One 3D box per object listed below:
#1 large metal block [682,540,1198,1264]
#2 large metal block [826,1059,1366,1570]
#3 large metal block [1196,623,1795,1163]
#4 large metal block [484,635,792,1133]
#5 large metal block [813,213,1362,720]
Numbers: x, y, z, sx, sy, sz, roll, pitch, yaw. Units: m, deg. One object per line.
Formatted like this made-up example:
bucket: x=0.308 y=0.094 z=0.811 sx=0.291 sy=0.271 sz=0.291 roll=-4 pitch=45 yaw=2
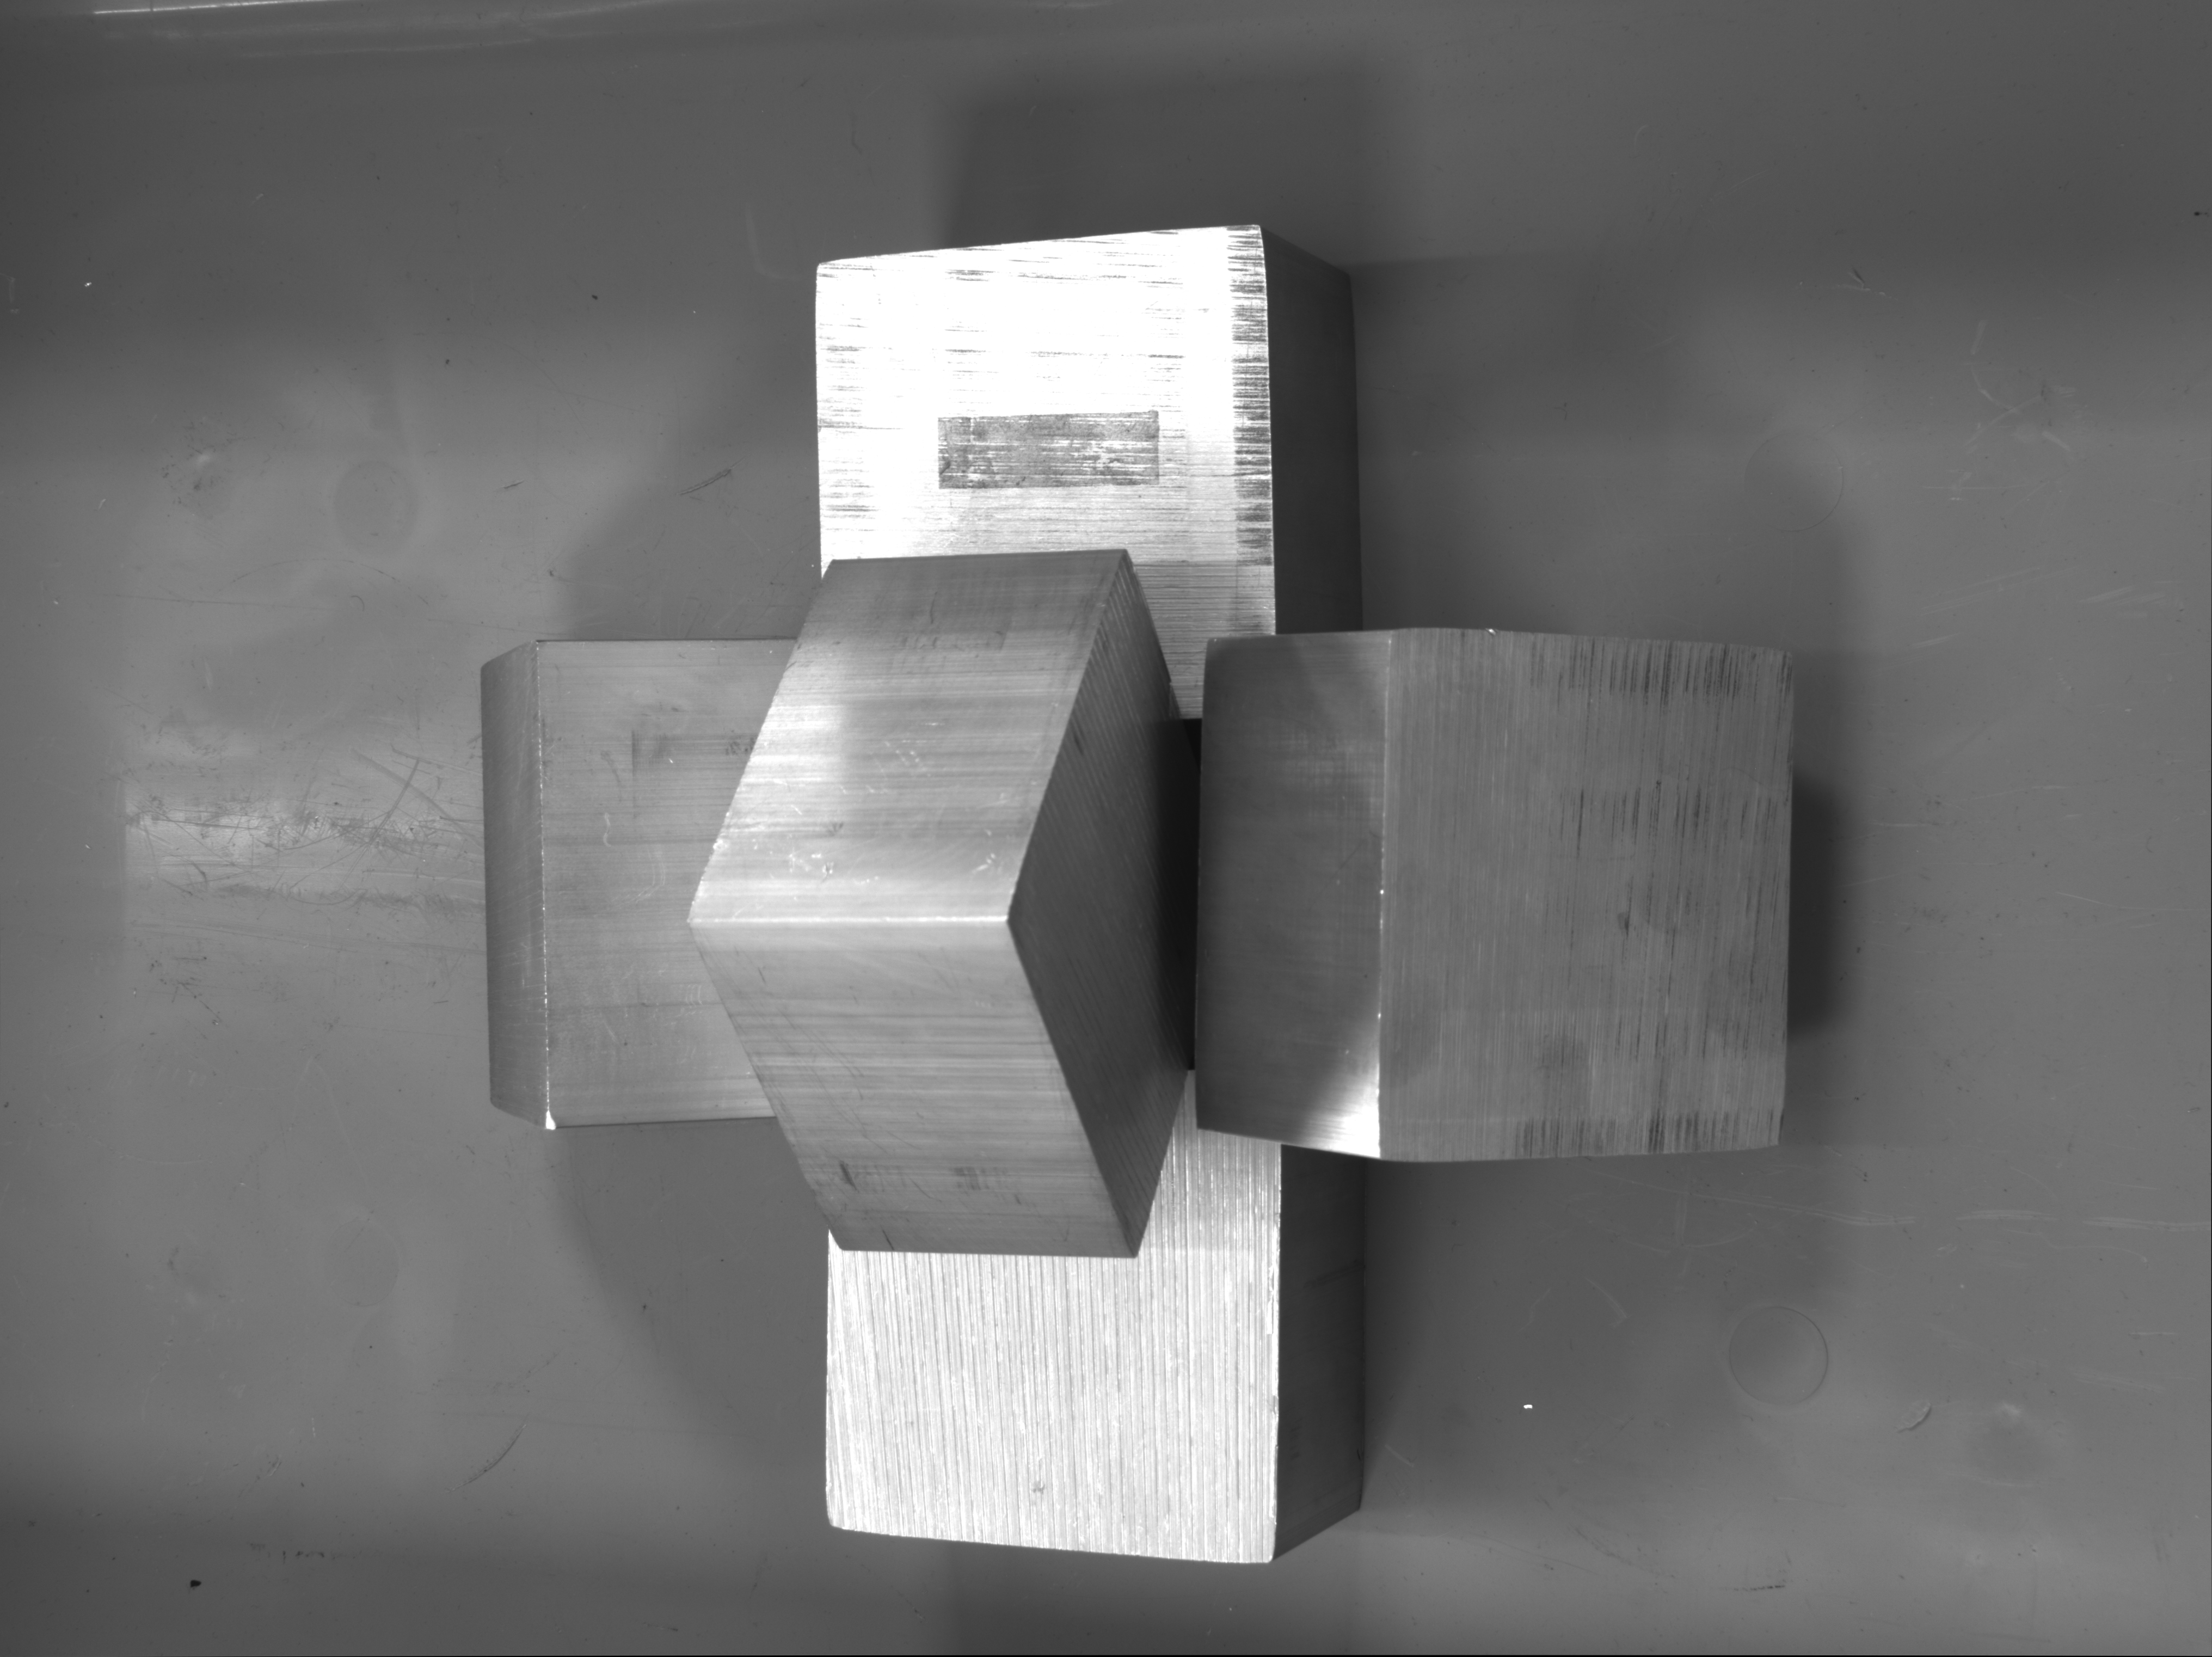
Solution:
large metal block: x=-0.020 y=0.012 z=0.581 sx=0.050 sy=0.080 sz=0.080 roll=-1 pitch=46 yaw=19
large metal block: x=-0.001 y=0.080 z=0.632 sx=0.080 sy=0.050 sz=0.080 roll=1 pitch=90 yaw=20
large metal block: x=0.062 y=0.009 z=0.586 sx=0.050 sy=0.080 sz=0.080 roll=2 pitch=91 yaw=59
large metal block: x=-0.078 y=0.009 z=0.636 sx=0.050 sy=0.080 sz=0.080 roll=-1 pitch=90 yaw=-16
large metal block: x=-0.002 y=-0.058 z=0.630 sx=0.080 sy=0.050 sz=0.080 roll=-2 pitch=89 yaw=20
